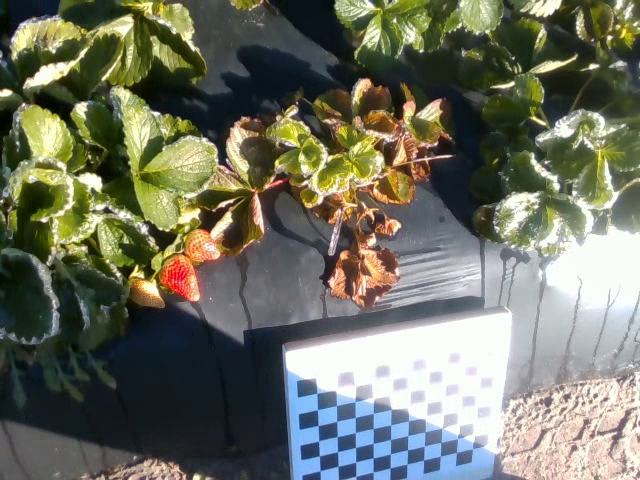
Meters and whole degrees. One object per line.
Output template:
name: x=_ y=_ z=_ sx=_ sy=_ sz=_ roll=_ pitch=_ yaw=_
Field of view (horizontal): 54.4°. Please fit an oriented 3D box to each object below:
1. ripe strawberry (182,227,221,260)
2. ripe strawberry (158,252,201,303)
ripe strawberry: x=-0.115 y=0.007 z=0.612 sx=0.041 sy=0.036 sz=0.030 roll=20 pitch=16 yaw=-18
ripe strawberry: x=-0.132 y=0.042 z=0.603 sx=0.036 sy=0.052 sz=0.039 roll=-42 pitch=-9 yaw=4
